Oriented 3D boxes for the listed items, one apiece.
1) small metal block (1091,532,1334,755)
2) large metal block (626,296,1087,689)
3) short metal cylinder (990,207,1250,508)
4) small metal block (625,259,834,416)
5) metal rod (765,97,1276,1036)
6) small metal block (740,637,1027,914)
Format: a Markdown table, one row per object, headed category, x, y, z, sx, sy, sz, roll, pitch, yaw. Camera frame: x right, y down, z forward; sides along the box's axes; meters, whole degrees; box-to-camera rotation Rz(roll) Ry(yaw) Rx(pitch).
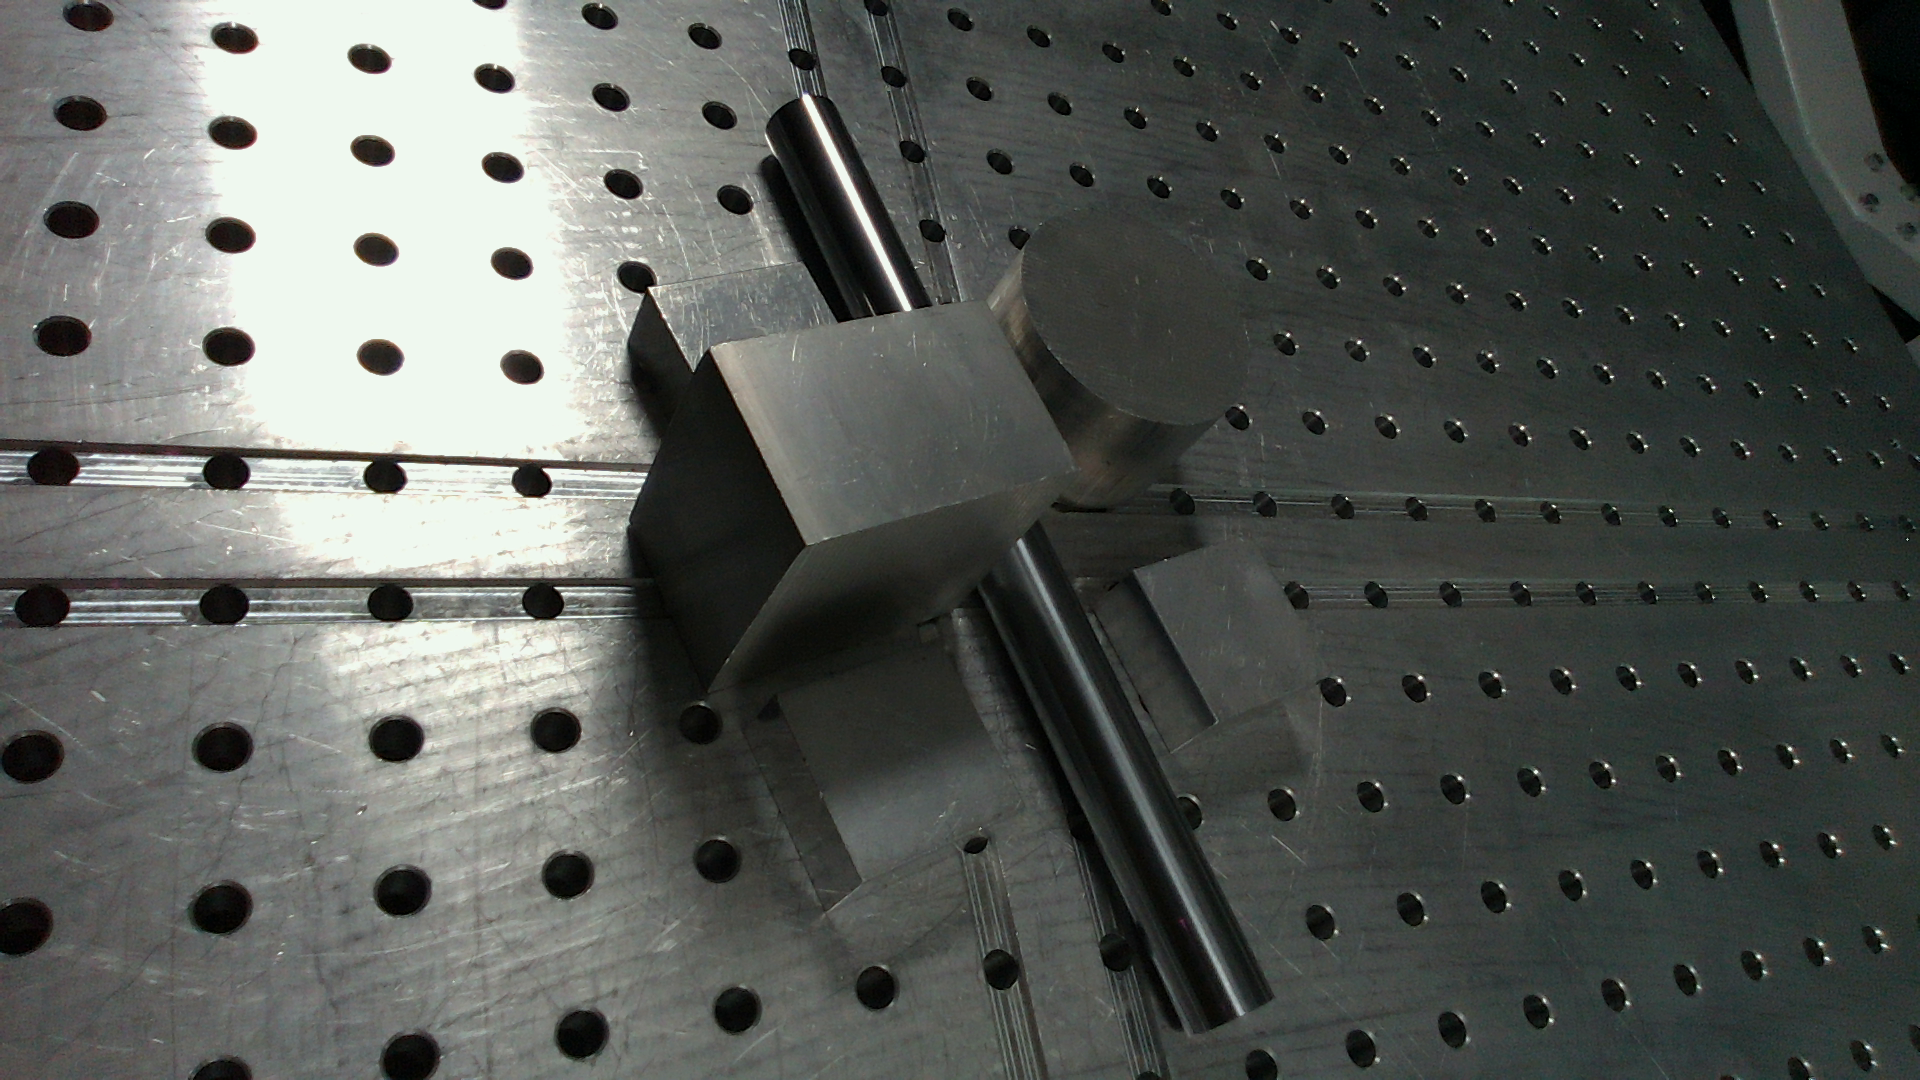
| category | x | y | z | sx | sy | sz | roll | pitch | yaw |
| --- | --- | --- | --- | --- | --- | --- | --- | --- | --- |
| small metal block | 0.076 | 0.030 | 0.415 | 0.050 | 0.025 | 0.050 | -16 | 70 | -34 |
| large metal block | -0.029 | -0.012 | 0.347 | 0.080 | 0.080 | 0.050 | -17 | 70 | -34 |
| short metal cylinder | 0.044 | -0.057 | 0.435 | 0.080 | 0.050 | 0.080 | 14 | 56 | -21 |
| small metal block | -0.059 | -0.048 | 0.391 | 0.050 | 0.025 | 0.050 | -19 | 72 | -35 |
| metal rod | 0.009 | -0.006 | 0.401 | 0.025 | 0.025 | 0.300 | -13 | 68 | -33 |
| small metal block | -0.019 | 0.058 | 0.347 | 0.050 | 0.025 | 0.050 | -17 | 70 | -35 |
